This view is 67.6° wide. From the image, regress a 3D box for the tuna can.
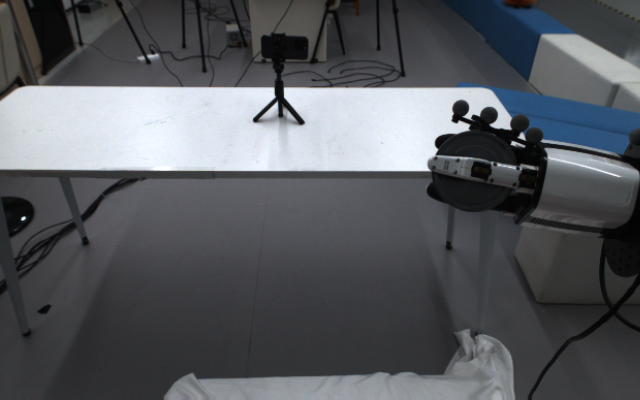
[{"bbox_3d":[0.167,-0.033,0.521,0.085,0.085,0.034,13,3,15],"label":"tuna can"}]
